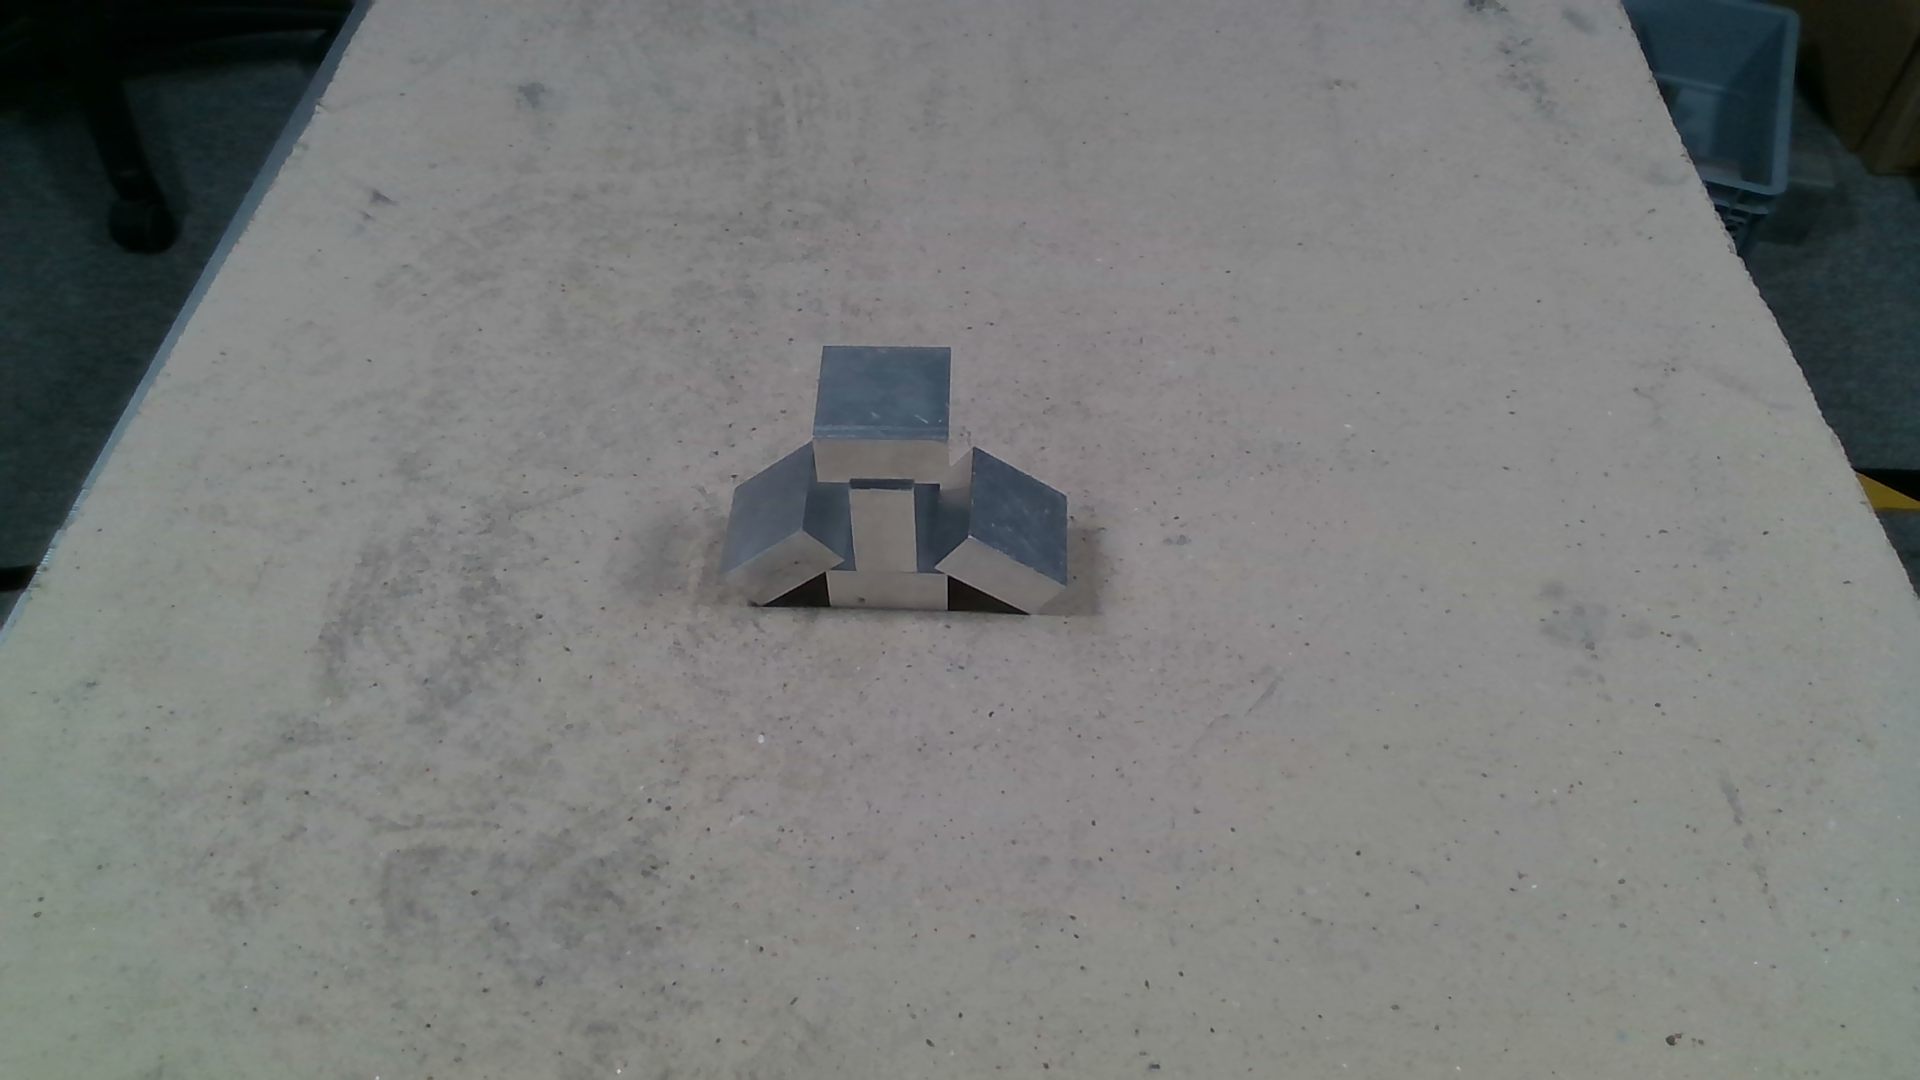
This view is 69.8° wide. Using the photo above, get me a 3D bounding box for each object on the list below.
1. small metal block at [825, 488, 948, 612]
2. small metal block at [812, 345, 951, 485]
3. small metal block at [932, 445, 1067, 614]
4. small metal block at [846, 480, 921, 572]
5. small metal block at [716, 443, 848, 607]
[{"bbox_3d":[-0.029,0.002,0.586,0.050,0.025,0.050,2,50,2],"label":"small metal block"},{"bbox_3d":[-0.029,-0.049,0.530,0.050,0.025,0.050,1,50,1],"label":"small metal block"},{"bbox_3d":[0.017,-0.004,0.575,0.050,0.025,0.050,27,45,-25],"label":"small metal block"},{"bbox_3d":[-0.030,-0.023,0.557,0.025,0.050,0.050,2,50,2],"label":"small metal block"},{"bbox_3d":[-0.072,-0.007,0.577,0.050,0.025,0.050,-28,41,31],"label":"small metal block"}]
